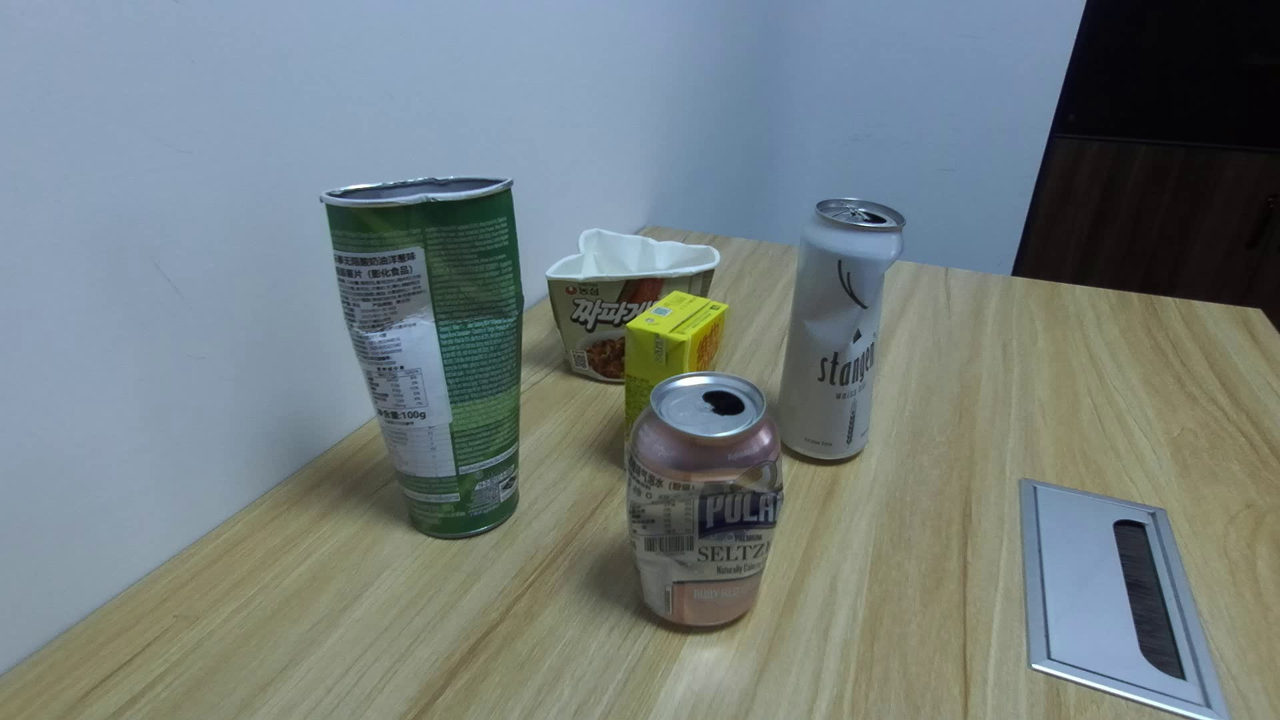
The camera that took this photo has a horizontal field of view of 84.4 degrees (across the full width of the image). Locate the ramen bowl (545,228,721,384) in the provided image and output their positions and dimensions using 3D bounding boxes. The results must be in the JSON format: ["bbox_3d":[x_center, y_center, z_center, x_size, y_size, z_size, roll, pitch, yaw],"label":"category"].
[{"bbox_3d":[-0.001,-0.048,0.596,0.133,0.097,0.113,4,29,7],"label":"ramen bowl"}]

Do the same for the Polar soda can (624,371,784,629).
[{"bbox_3d":[0.034,0.072,0.352,0.074,0.122,0.067,17,35,28],"label":"Polar soda can"}]

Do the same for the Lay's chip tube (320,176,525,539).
[{"bbox_3d":[-0.109,0.003,0.399,0.068,0.199,0.075,16,32,25],"label":"Lay's chip tube"}]

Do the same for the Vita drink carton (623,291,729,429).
[{"bbox_3d":[0.026,0.016,0.466,0.043,0.109,0.076,16,32,26],"label":"Vita drink carton"}]

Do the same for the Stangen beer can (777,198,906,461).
[{"bbox_3d":[0.133,-0.017,0.466,0.070,0.173,0.069,-8,30,-15],"label":"Stangen beer can"}]
